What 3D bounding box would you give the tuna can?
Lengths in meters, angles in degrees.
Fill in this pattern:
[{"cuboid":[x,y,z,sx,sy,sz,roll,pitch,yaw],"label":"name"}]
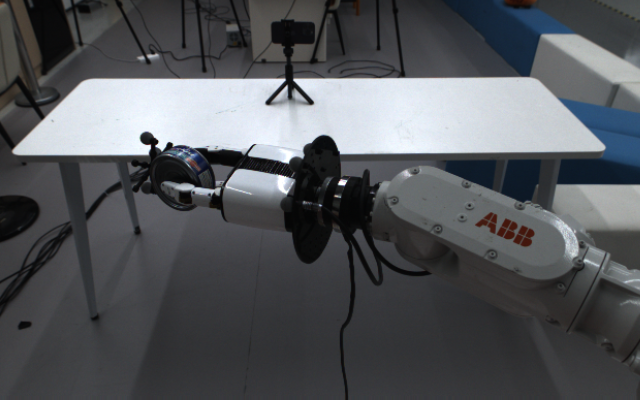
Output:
[{"cuboid":[-0.185,-0.031,0.656,0.085,0.085,0.034,14,31,16],"label":"tuna can"}]
